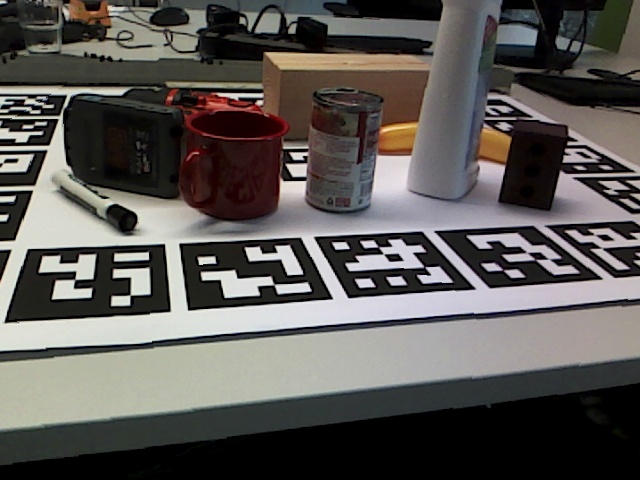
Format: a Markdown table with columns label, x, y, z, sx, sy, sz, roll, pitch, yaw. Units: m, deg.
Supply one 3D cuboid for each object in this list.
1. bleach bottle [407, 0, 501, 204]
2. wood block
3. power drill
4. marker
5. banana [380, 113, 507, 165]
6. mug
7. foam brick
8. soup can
| label | x | y | z | sx | sy | sz | roll | pitch | yaw |
| --- | --- | --- | --- | --- | --- | --- | --- | --- | --- |
| bleach bottle | 0.138 | -0.169 | 0.616 | 0.068 | 0.250 | 0.102 | 10 | 27 | 9 |
| wood block | 0.031 | -0.186 | 0.802 | 0.205 | 0.091 | 0.090 | -4 | 30 | -18 |
| power drill | -0.171 | -0.116 | 0.674 | 0.185 | 0.057 | 0.187 | 13 | 27 | 7 |
| marker | -0.193 | -0.028 | 0.537 | 0.122 | 0.019 | 0.019 | 29 | 37 | 35 |
| banana | 0.131 | -0.129 | 0.761 | 0.197 | 0.039 | 0.074 | 6 | 41 | -4 |
| mug | -0.081 | -0.066 | 0.557 | 0.094 | 0.081 | 0.117 | 19 | 34 | 20 |
| foam brick | 0.218 | -0.074 | 0.641 | 0.053 | 0.078 | 0.051 | 11 | 26 | 14 |
| soup can | 0.022 | -0.087 | 0.586 | 0.068 | 0.102 | 0.068 | 5 | 23 | -3 |
